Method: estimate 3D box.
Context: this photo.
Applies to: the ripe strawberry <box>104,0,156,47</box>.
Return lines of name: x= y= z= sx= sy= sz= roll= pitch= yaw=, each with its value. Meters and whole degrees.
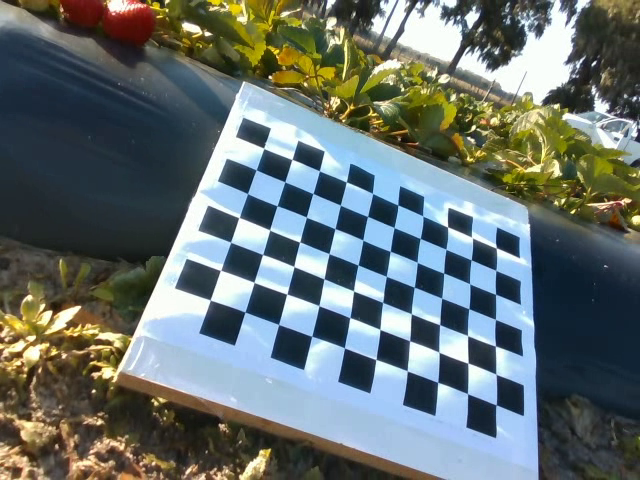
ripe strawberry: x=-0.174 y=-0.206 z=0.553 sx=0.057 sy=0.051 sz=0.067 roll=-27 pitch=19 yaw=-36

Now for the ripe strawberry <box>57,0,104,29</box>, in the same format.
ripe strawberry: x=-0.225 y=-0.221 z=0.546 sx=0.050 sy=0.043 sz=0.061 roll=42 pitch=6 yaw=2
